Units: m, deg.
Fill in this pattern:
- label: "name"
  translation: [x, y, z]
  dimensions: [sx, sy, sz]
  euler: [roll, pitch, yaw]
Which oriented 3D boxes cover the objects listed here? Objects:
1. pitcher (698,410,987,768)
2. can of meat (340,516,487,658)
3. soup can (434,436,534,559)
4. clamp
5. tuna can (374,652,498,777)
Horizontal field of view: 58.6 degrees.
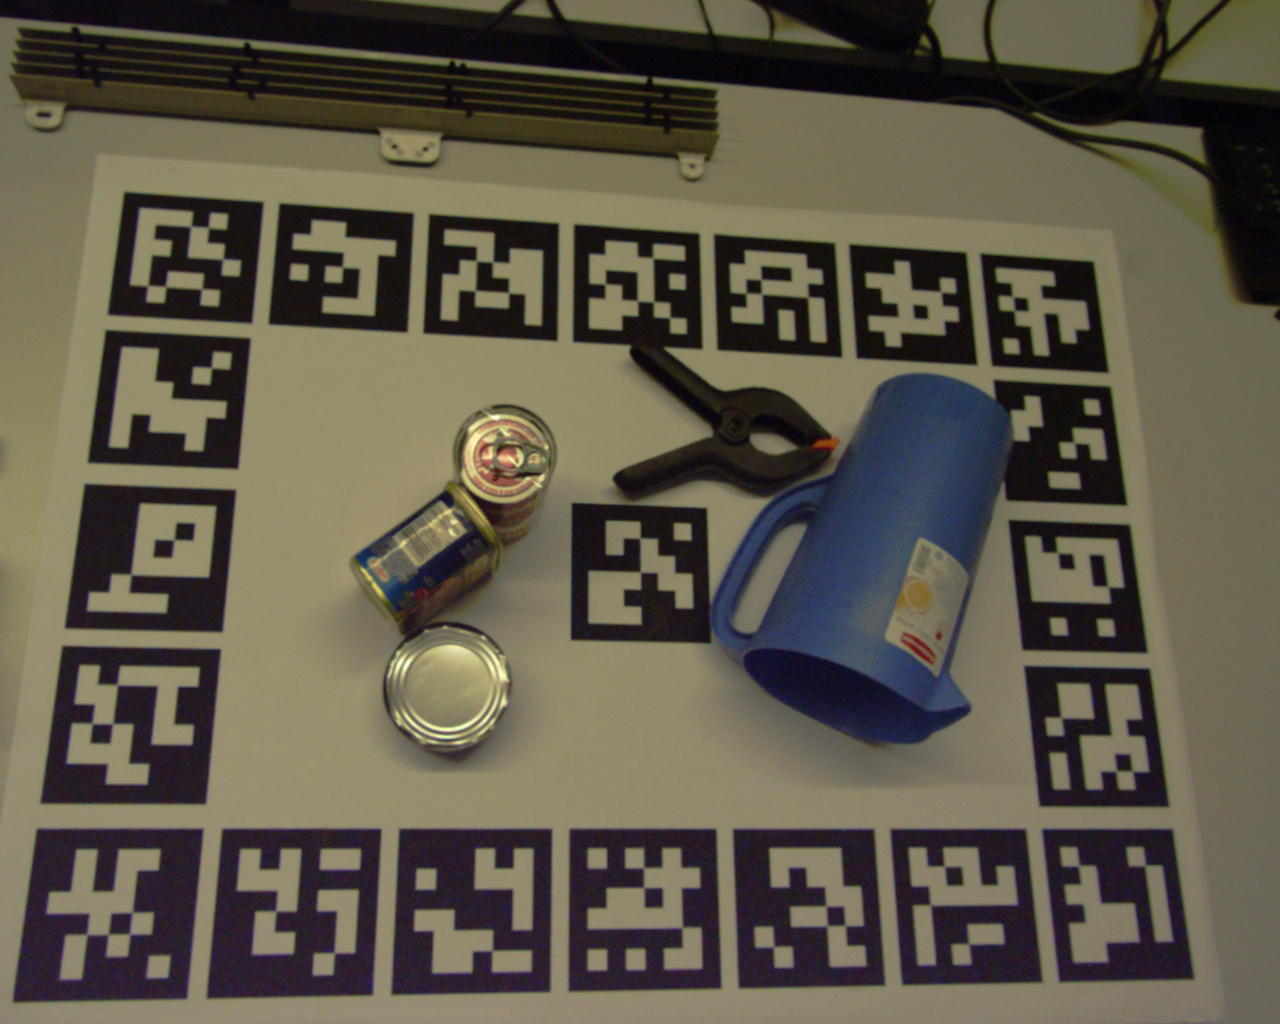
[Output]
- label: "pitcher"
  translation: [0.157, 0.047, 0.825]
  dimensions: [0.190, 0.132, 0.242]
  euler: [15, 64, 19]
- label: "can of meat"
  translation: [-0.157, 0.055, 0.793]
  dimensions: [0.083, 0.102, 0.058]
  euler: [-35, 84, -13]
- label: "soup can"
  translation: [-0.112, -0.008, 0.822]
  dimensions: [0.068, 0.102, 0.068]
  euler: [1, 76, -6]
- label: "clamp"
  translation: [0.036, -0.047, 0.898]
  dimensions: [0.164, 0.037, 0.122]
  euler: [5, 70, -11]
- label: "tuna can"
  translation: [-0.144, 0.144, 0.808]
  dimensions: [0.085, 0.034, 0.086]
  euler: [2, 76, -8]
